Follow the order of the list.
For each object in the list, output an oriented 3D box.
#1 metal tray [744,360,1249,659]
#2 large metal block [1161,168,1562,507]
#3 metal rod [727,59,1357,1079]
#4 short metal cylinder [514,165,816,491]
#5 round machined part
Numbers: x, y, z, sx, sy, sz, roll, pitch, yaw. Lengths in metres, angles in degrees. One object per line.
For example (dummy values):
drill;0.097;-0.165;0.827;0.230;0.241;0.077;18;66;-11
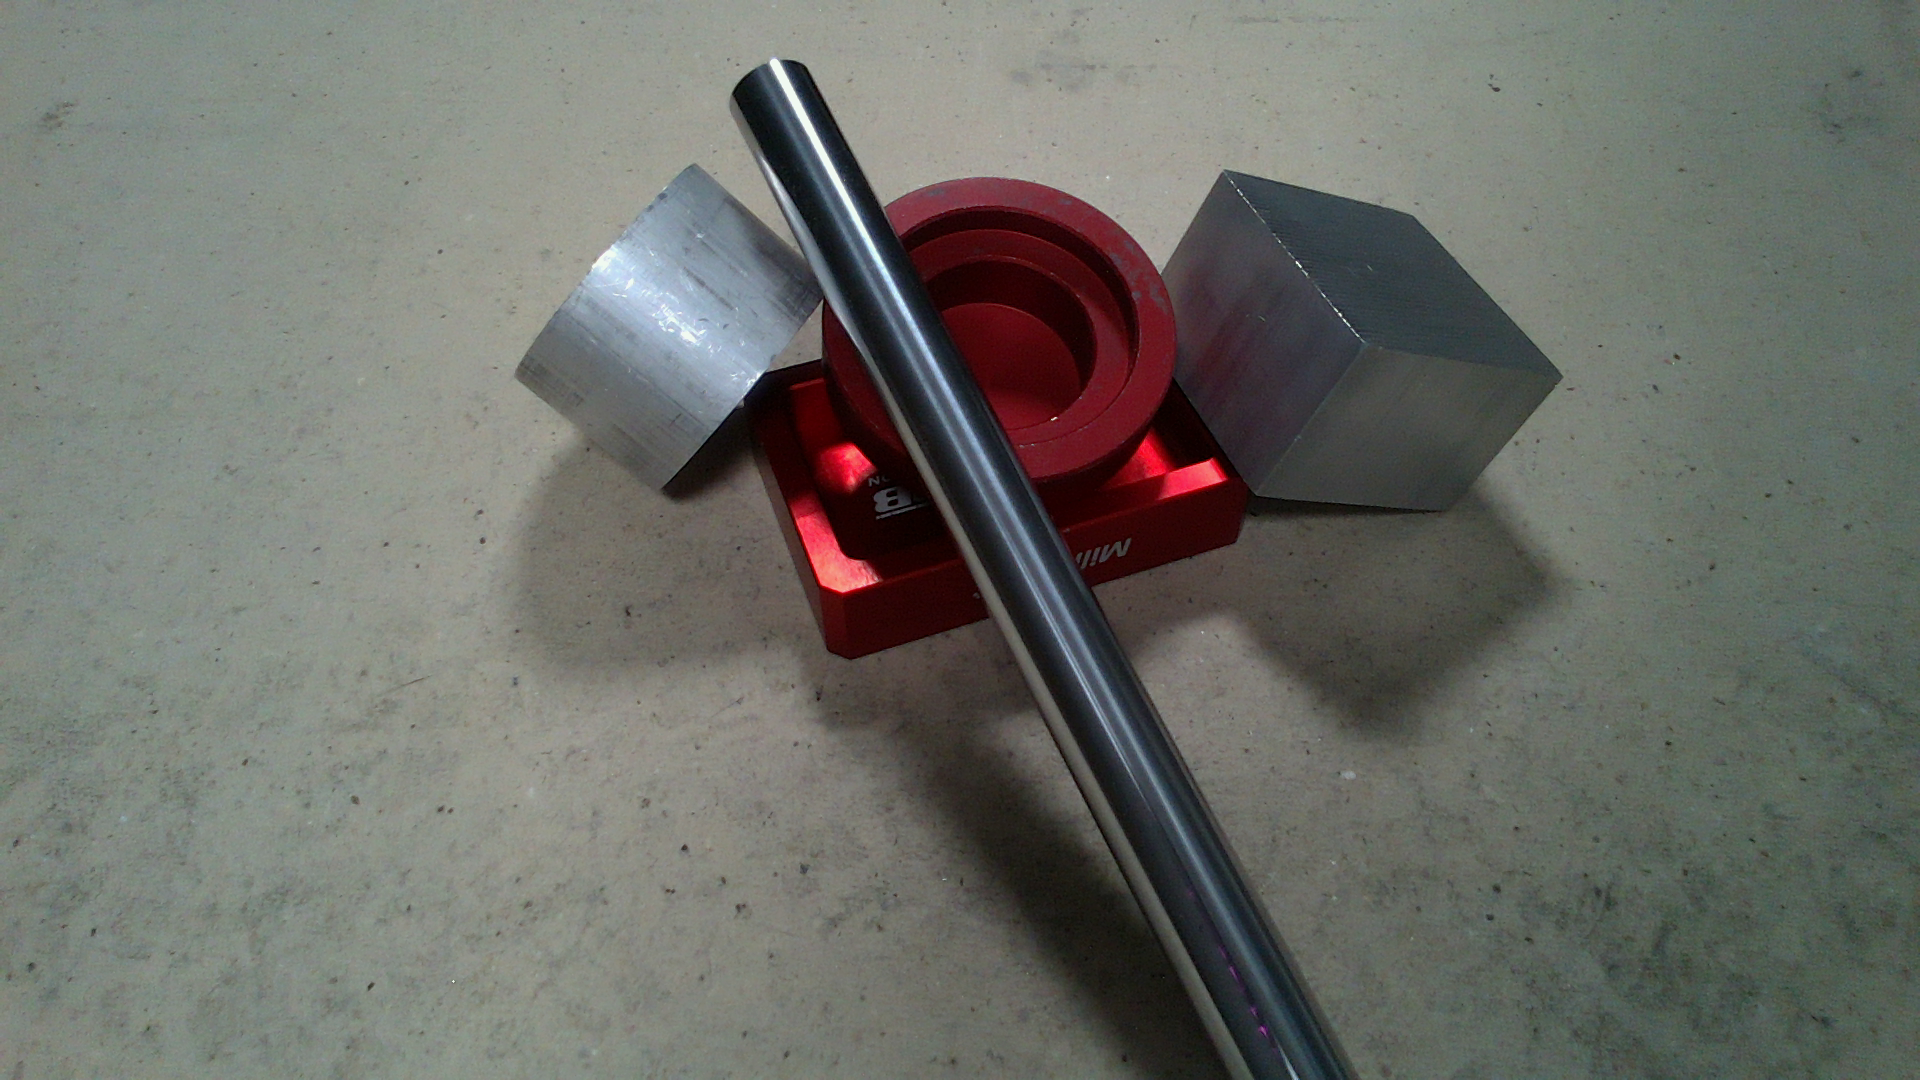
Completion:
metal tray;0.010;-0.025;0.409;0.130;0.030;0.090;-16;52;-13
large metal block;0.111;-0.058;0.402;0.080;0.050;0.080;3;44;-32
metal rod;0.012;0.002;0.333;0.025;0.025;0.300;-21;70;-17
short metal cylinder;-0.083;-0.061;0.399;0.050;0.080;0.080;40;53;-13
round machined part;0.009;-0.053;0.393;0.098;0.042;0.098;2;65;-4
